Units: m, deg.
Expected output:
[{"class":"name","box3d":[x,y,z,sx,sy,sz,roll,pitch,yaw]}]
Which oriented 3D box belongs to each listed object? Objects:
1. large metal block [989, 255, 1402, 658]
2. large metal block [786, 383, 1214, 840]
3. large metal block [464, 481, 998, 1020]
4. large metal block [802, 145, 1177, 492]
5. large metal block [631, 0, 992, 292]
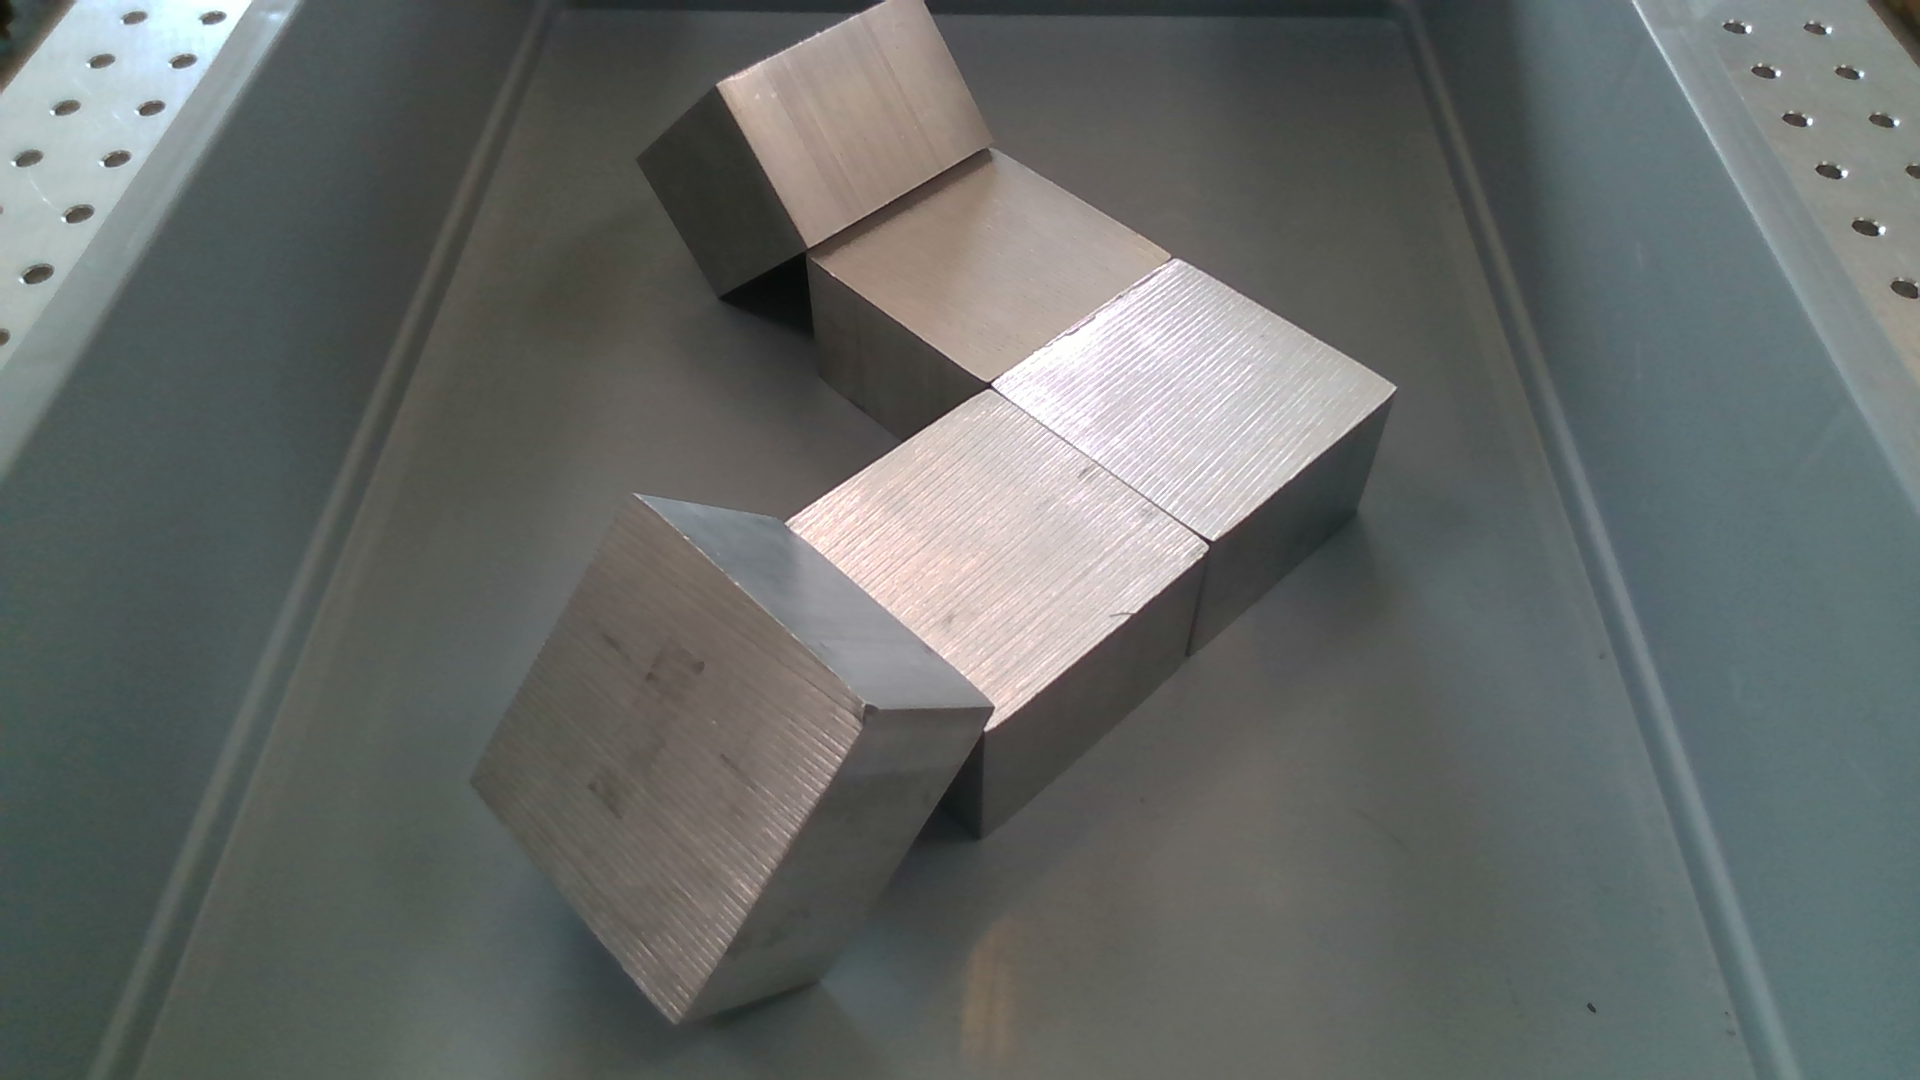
[{"class":"large metal block","box3d":[0.065,-0.027,0.398,0.080,0.050,0.080,-37,59,-26]},{"class":"large metal block","box3d":[0.007,0.016,0.362,0.080,0.050,0.080,-37,59,-26]},{"class":"large metal block","box3d":[-0.053,0.045,0.311,0.080,0.050,0.080,38,103,27]},{"class":"large metal block","box3d":[0.009,-0.071,0.435,0.080,0.050,0.080,-37,59,-26]},{"class":"large metal block","box3d":[-0.051,-0.130,0.456,0.080,0.050,0.080,-37,16,-26]}]
